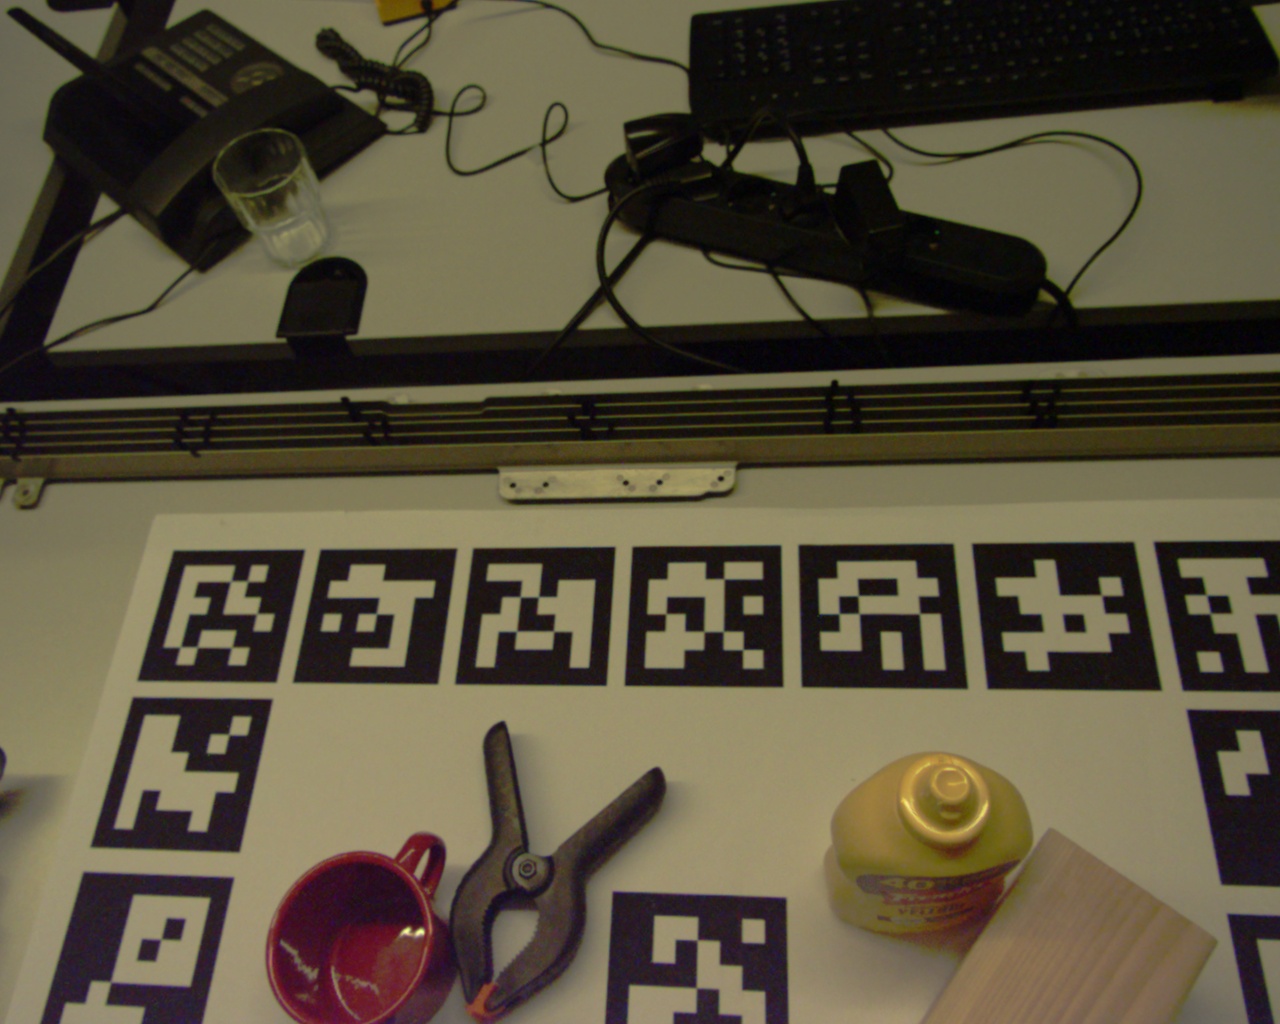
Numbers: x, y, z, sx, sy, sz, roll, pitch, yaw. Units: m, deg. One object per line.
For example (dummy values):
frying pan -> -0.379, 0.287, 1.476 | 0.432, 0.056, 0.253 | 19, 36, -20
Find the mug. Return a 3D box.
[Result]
mug -> -0.152, 0.247, 0.687 | 0.094, 0.081, 0.117 | 19, 67, 18

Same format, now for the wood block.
wood block -> 0.178, 0.283, 0.588 | 0.091, 0.090, 0.205 | 33, 68, 25

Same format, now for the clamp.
clamp -> -0.068, 0.212, 0.698 | 0.123, 0.036, 0.165 | 17, 66, 15

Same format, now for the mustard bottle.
mustard bottle -> 0.135, 0.166, 0.597 | 0.096, 0.190, 0.058 | -6, 61, 5
